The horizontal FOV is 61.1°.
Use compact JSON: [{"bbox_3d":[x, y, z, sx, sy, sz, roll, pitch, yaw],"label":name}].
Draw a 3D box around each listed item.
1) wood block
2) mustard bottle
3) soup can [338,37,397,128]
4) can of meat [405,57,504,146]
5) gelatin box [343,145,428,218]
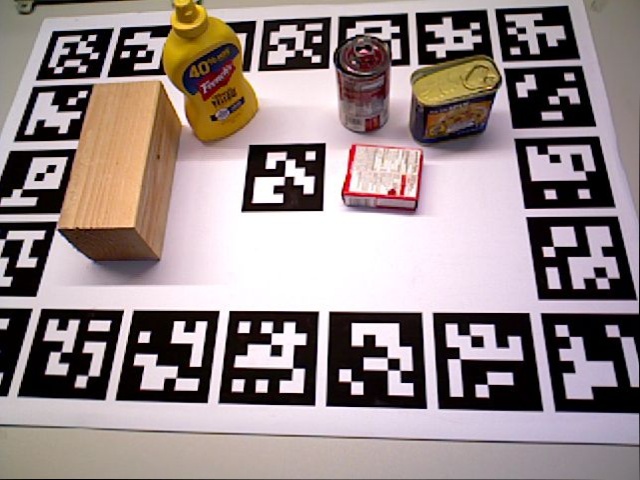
[{"bbox_3d":[-0.235,-0.083,0.649,0.091,0.091,0.203,1,60,4],"label":"wood block"},{"bbox_3d":[-0.138,-0.199,0.642,0.095,0.194,0.058,-22,63,-8],"label":"mustard bottle"},{"bbox_3d":[0.058,-0.192,0.653,0.068,0.103,0.067,-3,64,4],"label":"soup can"},{"bbox_3d":[0.155,-0.164,0.649,0.101,0.085,0.057,-12,63,-3],"label":"can of meat"},{"bbox_3d":[0.077,-0.069,0.637,0.089,0.030,0.072,8,67,13],"label":"gelatin box"}]
